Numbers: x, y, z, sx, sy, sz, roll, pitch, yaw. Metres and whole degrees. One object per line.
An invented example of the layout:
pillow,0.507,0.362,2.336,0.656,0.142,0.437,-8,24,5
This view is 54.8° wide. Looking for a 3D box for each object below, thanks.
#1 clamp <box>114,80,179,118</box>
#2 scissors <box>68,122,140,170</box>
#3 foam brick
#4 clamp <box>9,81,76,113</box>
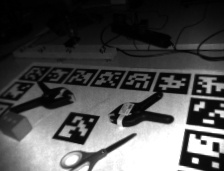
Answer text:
clamp,0.087,0.048,0.610,0.165,0.037,0.120,-17,45,-1
scissors,-0.012,0.144,0.530,0.204,0.016,0.086,-30,48,-21
foam brick,-0.271,0.118,0.628,0.077,0.052,0.053,3,43,29
clamp,-0.215,0.033,0.722,0.201,0.037,0.165,-1,37,16
